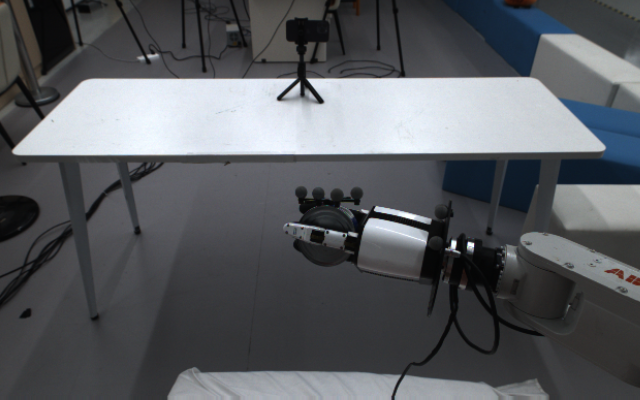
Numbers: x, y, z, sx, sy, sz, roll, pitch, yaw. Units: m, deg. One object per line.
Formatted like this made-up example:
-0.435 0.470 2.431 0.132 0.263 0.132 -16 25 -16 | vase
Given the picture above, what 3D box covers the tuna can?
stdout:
0.014 0.048 0.677 0.085 0.085 0.034 12 8 14 | tuna can
